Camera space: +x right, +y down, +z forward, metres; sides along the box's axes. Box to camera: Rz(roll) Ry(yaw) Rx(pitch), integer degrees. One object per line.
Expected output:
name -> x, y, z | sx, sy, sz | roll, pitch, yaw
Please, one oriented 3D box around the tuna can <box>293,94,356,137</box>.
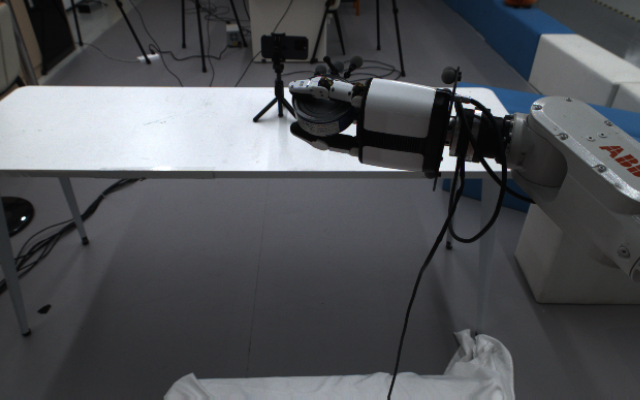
tuna can -> 0.007, -0.130, 0.656 | 0.085, 0.034, 0.085 | -4, 56, 6
